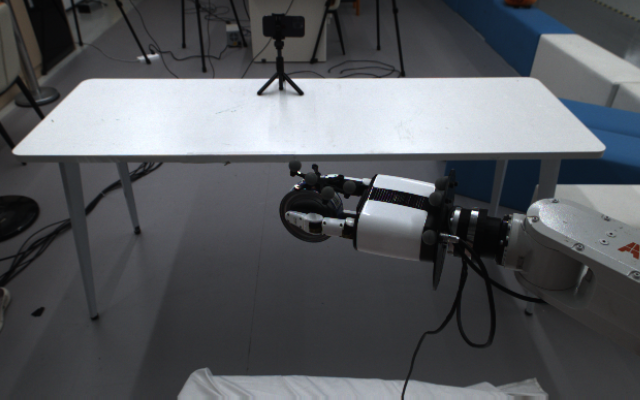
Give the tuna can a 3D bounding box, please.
[{"bbox_3d":[-0.010,0.016,0.681,0.085,0.085,0.034,12,30,15],"label":"tuna can"}]
